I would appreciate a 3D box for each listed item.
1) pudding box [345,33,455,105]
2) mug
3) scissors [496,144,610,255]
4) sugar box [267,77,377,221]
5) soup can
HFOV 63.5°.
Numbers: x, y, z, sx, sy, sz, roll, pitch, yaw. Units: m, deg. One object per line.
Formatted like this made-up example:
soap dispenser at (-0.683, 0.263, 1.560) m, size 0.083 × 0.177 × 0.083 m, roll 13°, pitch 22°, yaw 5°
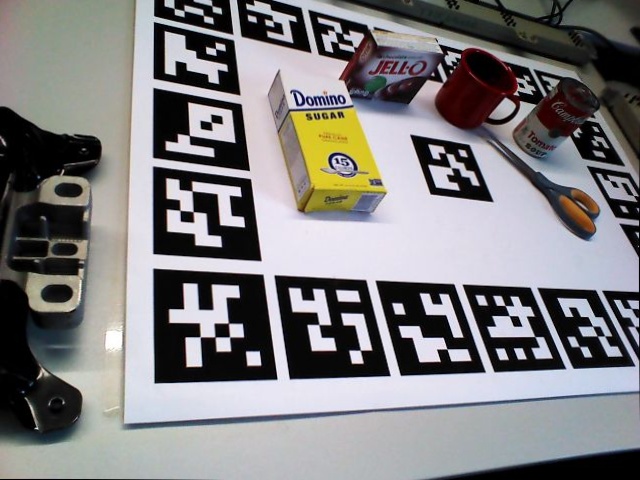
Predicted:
pudding box at (0.103, -0.222, 0.677) m, size 0.113 × 0.090 × 0.038 m, roll -5°, pitch 69°, yaw -28°
mug at (0.236, -0.208, 0.741) m, size 0.092 × 0.082 × 0.117 m, roll -35°, pitch 78°, yaw -34°
scissors at (0.329, -0.069, 0.738) m, size 0.203 × 0.016 × 0.087 m, roll 44°, pitch 62°, yaw 4°
sugar box at (-0.001, -0.106, 0.594) m, size 0.092 × 0.045 × 0.175 m, roll 0°, pitch 62°, yaw -23°
soup can at (0.349, -0.167, 0.765) m, size 0.068 × 0.103 × 0.067 m, roll 12°, pitch 55°, yaw -18°
